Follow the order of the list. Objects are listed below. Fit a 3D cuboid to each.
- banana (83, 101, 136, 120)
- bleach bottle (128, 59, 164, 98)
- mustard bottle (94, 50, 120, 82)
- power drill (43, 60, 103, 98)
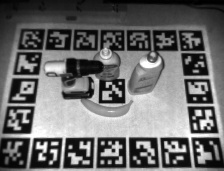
[{"bbox_3d":[-0.010,0.089,0.790,0.197,0.039,0.074,2,76,1],"label":"banana"},{"bbox_3d":[0.114,-0.024,0.730,0.103,0.251,0.067,-9,72,-3],"label":"bleach bottle"},{"bbox_3d":[-0.016,-0.071,0.765,0.096,0.192,0.058,0,71,-1],"label":"mustard bottle"},{"bbox_3d":[-0.118,-0.019,0.726,0.185,0.187,0.057,-3,64,-4],"label":"power drill"}]
